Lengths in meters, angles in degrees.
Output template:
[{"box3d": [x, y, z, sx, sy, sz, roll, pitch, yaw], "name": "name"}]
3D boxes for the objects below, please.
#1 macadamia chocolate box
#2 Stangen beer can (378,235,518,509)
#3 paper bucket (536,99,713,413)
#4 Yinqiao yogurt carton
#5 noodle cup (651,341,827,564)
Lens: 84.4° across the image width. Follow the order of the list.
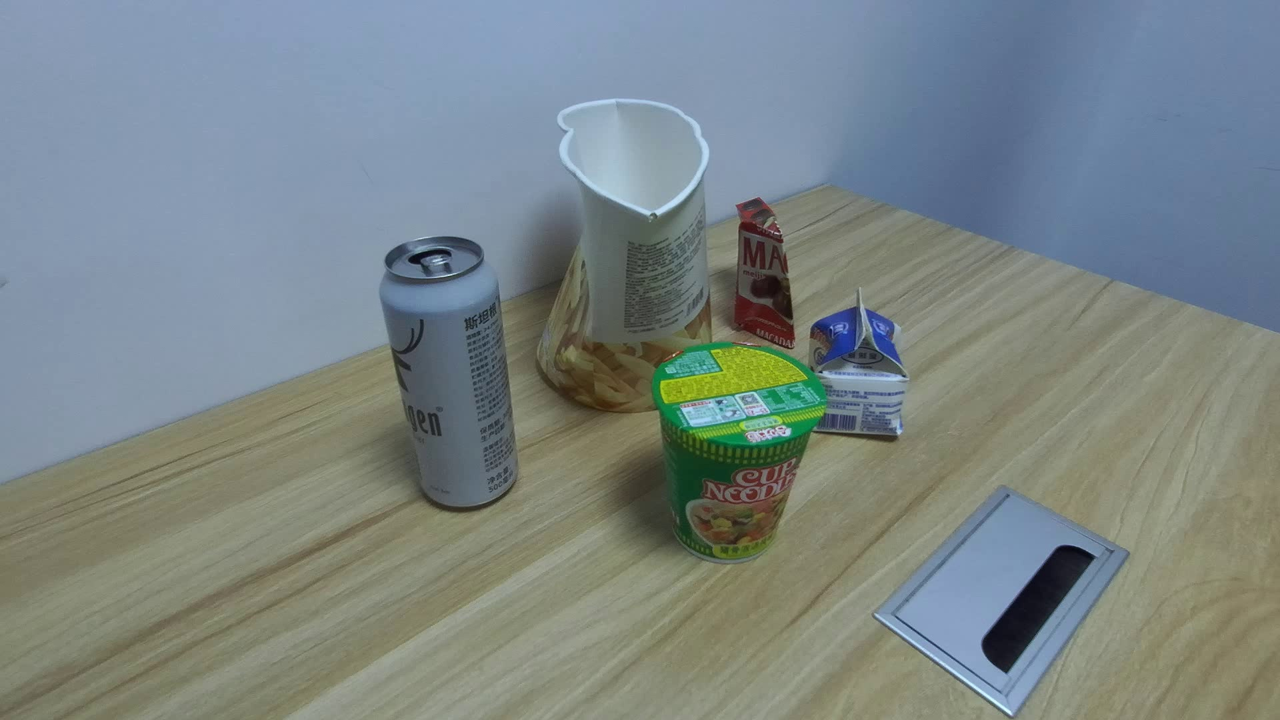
[{"box3d": [0.114, -0.089, 0.645, 0.056, 0.112, 0.126, 2, 34, 4], "name": "macadamia chocolate box"}, {"box3d": [-0.115, 0.012, 0.441, 0.067, 0.171, 0.067, 1, 34, 0], "name": "Stangen beer can"}, {"box3d": [-0.010, -0.079, 0.546, 0.148, 0.199, 0.217, -23, 40, -31], "name": "paper bucket"}, {"box3d": [0.162, 0.000, 0.531, 0.071, 0.094, 0.077, 1, 33, 12], "name": "Yinqiao yogurt carton"}, {"box3d": [0.055, 0.060, 0.424, 0.097, 0.110, 0.097, 0, 35, 0], "name": "noodle cup"}]
